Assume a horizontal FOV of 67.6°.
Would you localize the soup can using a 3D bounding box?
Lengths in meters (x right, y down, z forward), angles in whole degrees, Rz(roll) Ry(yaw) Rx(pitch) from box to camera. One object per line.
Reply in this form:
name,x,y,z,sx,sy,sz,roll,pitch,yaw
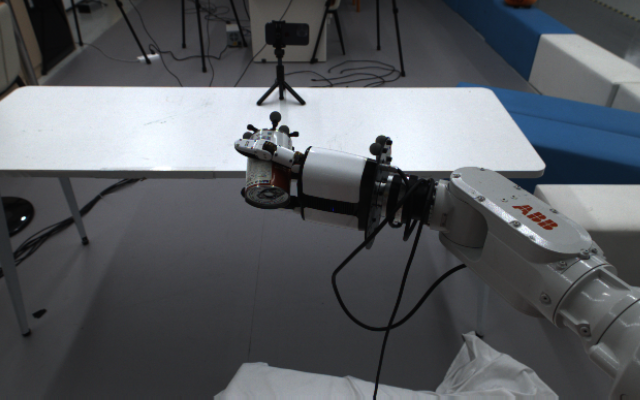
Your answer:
soup can,-0.075,-0.046,0.716,0.067,0.067,0.101,1,61,-2
